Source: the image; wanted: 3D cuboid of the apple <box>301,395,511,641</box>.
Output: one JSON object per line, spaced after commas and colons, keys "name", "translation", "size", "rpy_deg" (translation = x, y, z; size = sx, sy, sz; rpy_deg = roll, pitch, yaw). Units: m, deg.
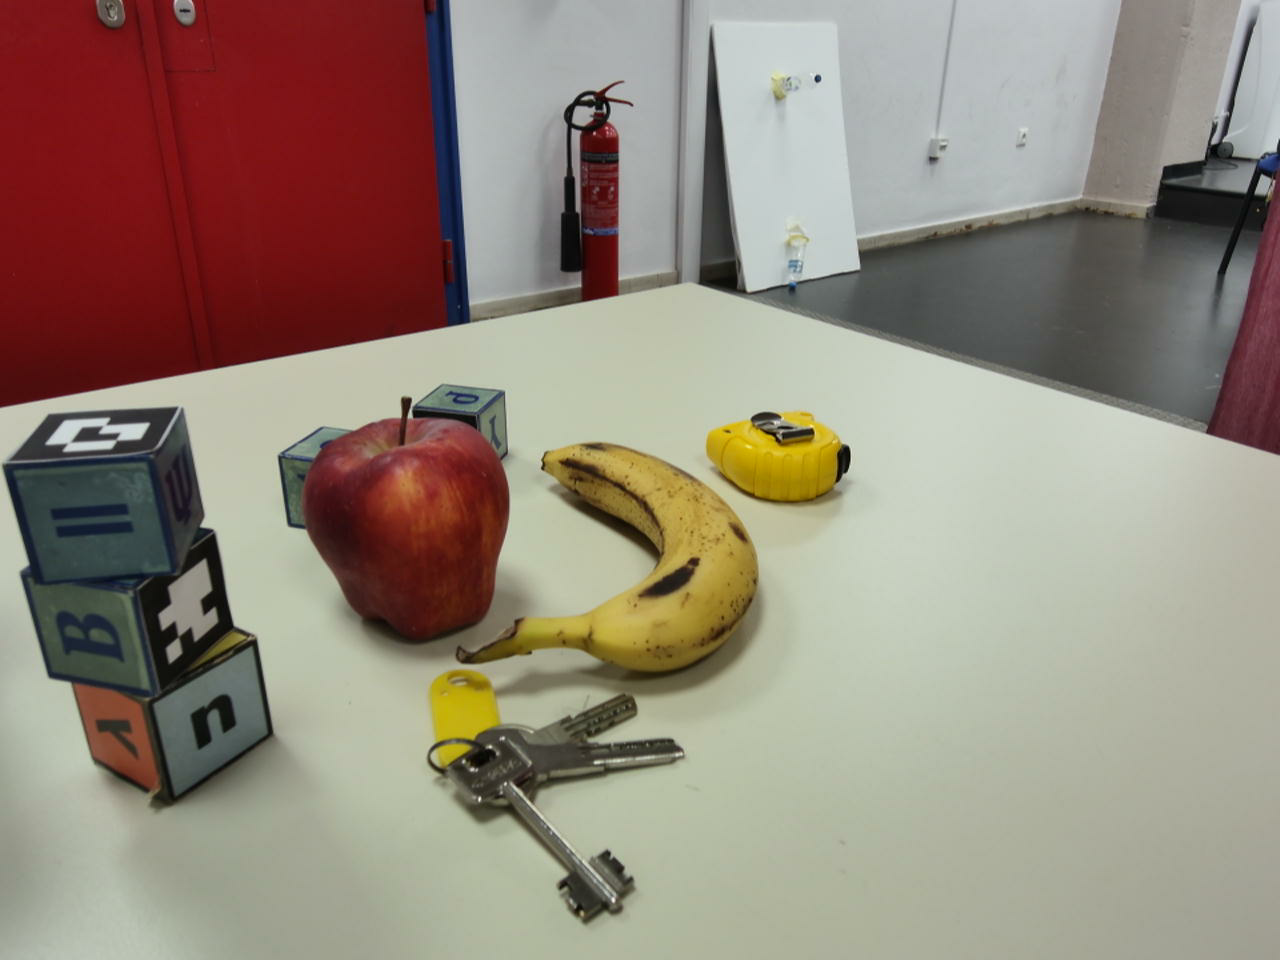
{"name": "apple", "translation": [-0.090, 0.012, 0.390], "size": [0.083, 0.090, 0.083], "rpy_deg": [0, 23, 0]}
